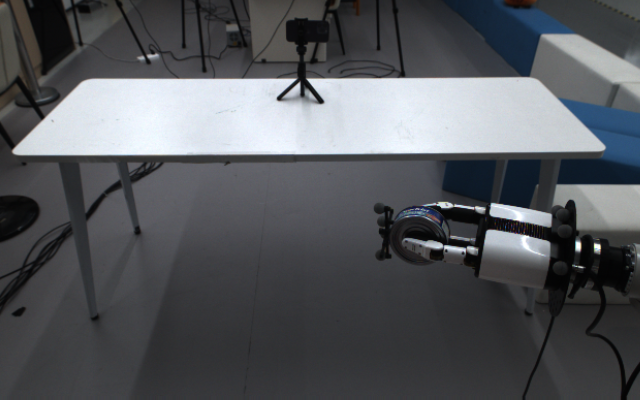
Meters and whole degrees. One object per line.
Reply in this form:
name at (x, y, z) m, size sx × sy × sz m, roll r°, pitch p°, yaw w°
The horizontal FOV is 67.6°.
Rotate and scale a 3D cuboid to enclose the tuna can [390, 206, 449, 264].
tuna can at (0.146, 0.047, 0.713) m, size 0.085 × 0.085 × 0.034 m, roll 12°, pitch 27°, yaw 14°
